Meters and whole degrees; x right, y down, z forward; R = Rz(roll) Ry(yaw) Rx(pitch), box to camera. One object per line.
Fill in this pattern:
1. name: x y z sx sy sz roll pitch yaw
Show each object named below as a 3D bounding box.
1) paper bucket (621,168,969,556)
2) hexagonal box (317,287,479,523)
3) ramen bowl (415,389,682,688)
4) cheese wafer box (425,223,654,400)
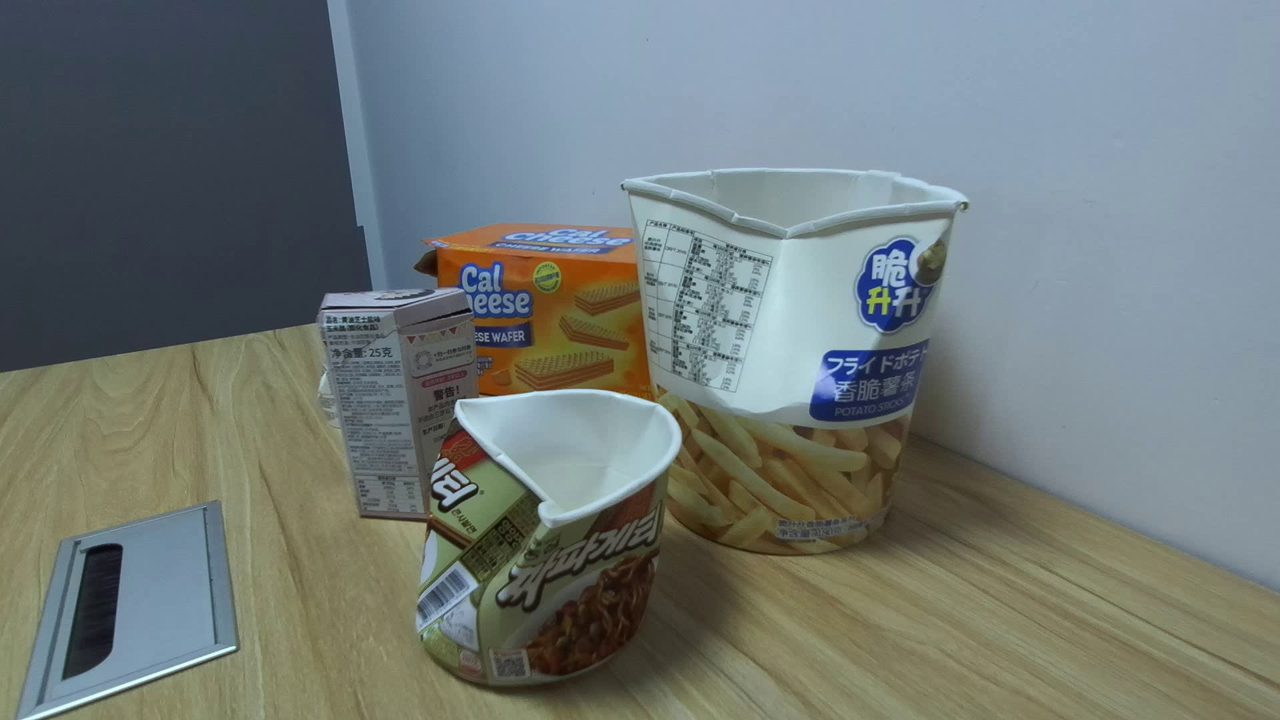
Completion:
1. paper bucket: 0.074 -0.008 0.424 0.162 0.202 0.169 -2 18 2
2. hexagonal box: -0.148 0.023 0.447 0.084 0.135 0.092 14 25 38
3. ramen bowl: -0.043 0.080 0.338 0.137 0.098 0.137 0 24 0
4. cheese wafer box: -0.059 -0.048 0.634 0.226 0.137 0.150 7 22 21
